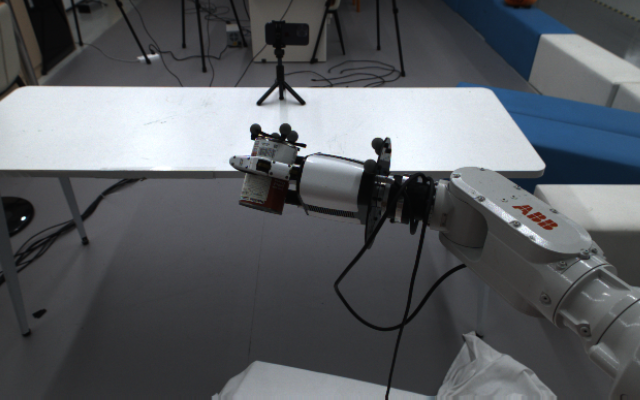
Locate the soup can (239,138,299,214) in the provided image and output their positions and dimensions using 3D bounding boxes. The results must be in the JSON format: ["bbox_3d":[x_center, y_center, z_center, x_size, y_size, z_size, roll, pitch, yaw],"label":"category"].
[{"bbox_3d":[-0.076,-0.034,0.714,0.067,0.101,0.067,13,-6,1],"label":"soup can"}]
